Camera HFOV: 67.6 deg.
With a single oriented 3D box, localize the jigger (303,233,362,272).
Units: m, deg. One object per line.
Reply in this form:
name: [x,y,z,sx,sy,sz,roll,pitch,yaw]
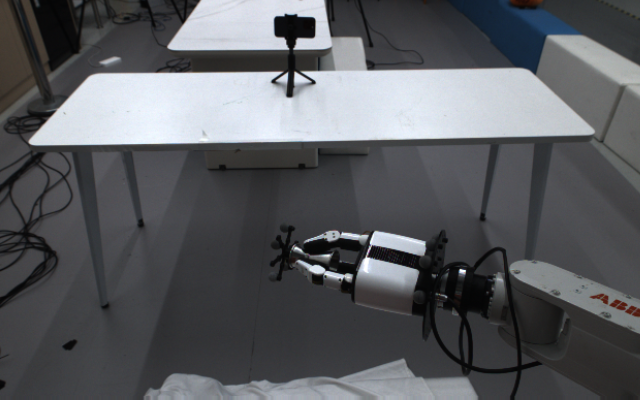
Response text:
jigger: [-0.003,0.090,0.749,0.071,0.043,0.043,10,35,22]
